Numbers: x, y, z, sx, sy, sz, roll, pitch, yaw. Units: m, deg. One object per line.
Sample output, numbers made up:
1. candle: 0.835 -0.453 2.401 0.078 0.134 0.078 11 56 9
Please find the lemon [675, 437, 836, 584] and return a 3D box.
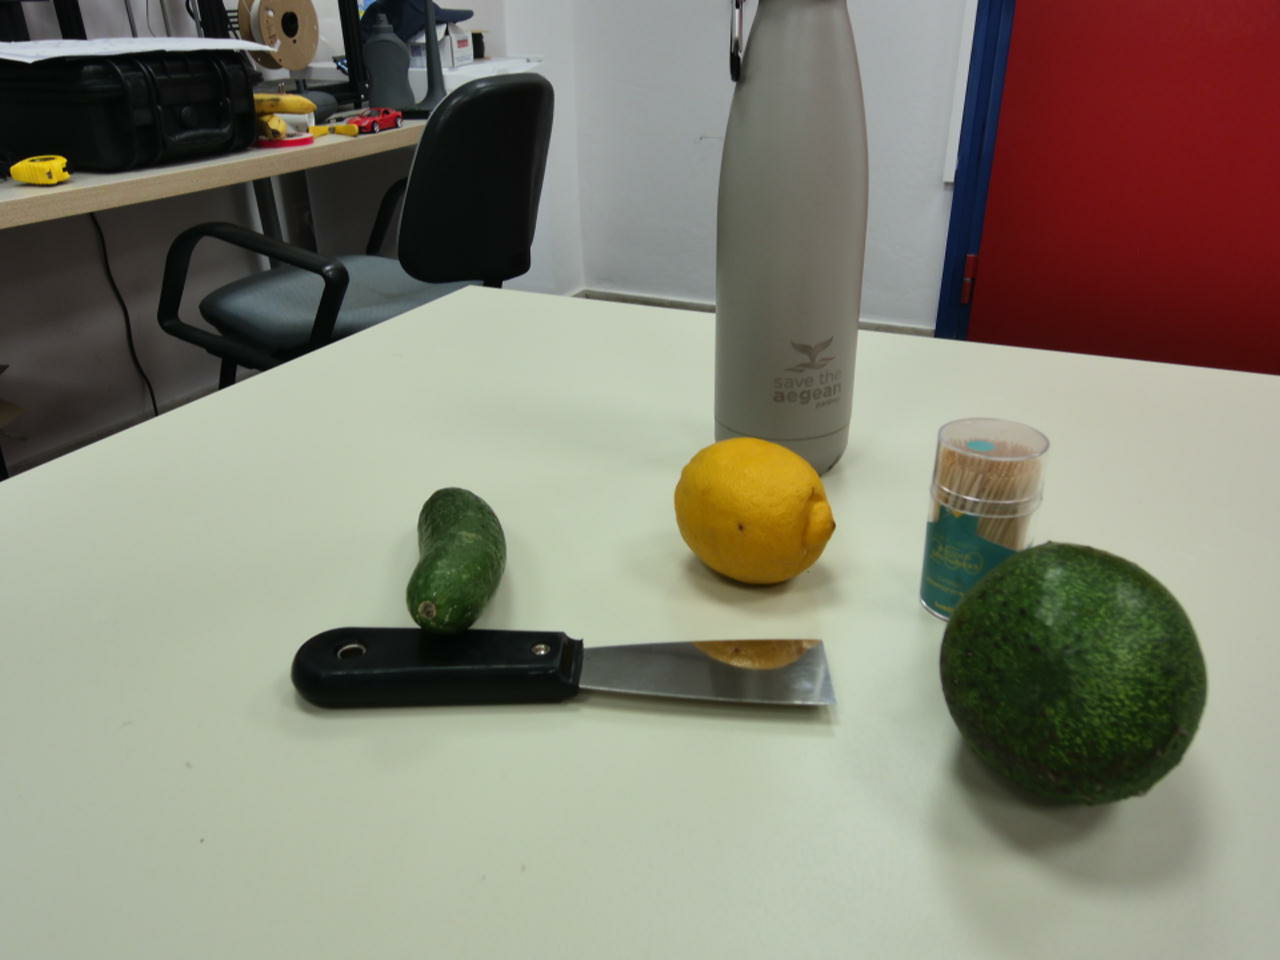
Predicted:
1. lemon: 0.047 0.013 0.421 0.061 0.059 0.067 -9 25 -20
